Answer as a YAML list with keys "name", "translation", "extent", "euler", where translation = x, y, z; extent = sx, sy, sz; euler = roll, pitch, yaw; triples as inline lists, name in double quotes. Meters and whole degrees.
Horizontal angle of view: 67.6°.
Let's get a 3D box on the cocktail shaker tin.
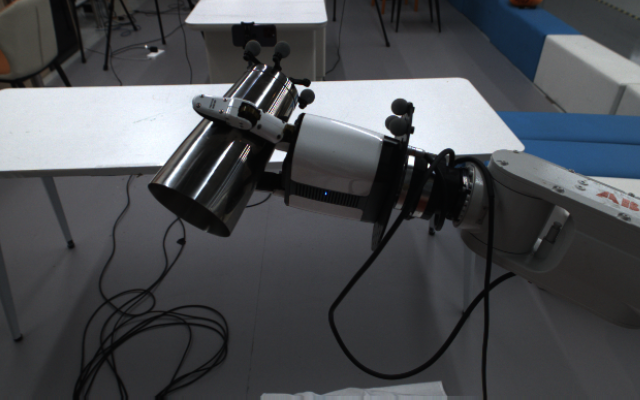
- name: "cocktail shaker tin"
  translation: [-0.087, -0.060, 0.501]
  extent: [0.093, 0.093, 0.170]
  euler: [18, 66, 21]
